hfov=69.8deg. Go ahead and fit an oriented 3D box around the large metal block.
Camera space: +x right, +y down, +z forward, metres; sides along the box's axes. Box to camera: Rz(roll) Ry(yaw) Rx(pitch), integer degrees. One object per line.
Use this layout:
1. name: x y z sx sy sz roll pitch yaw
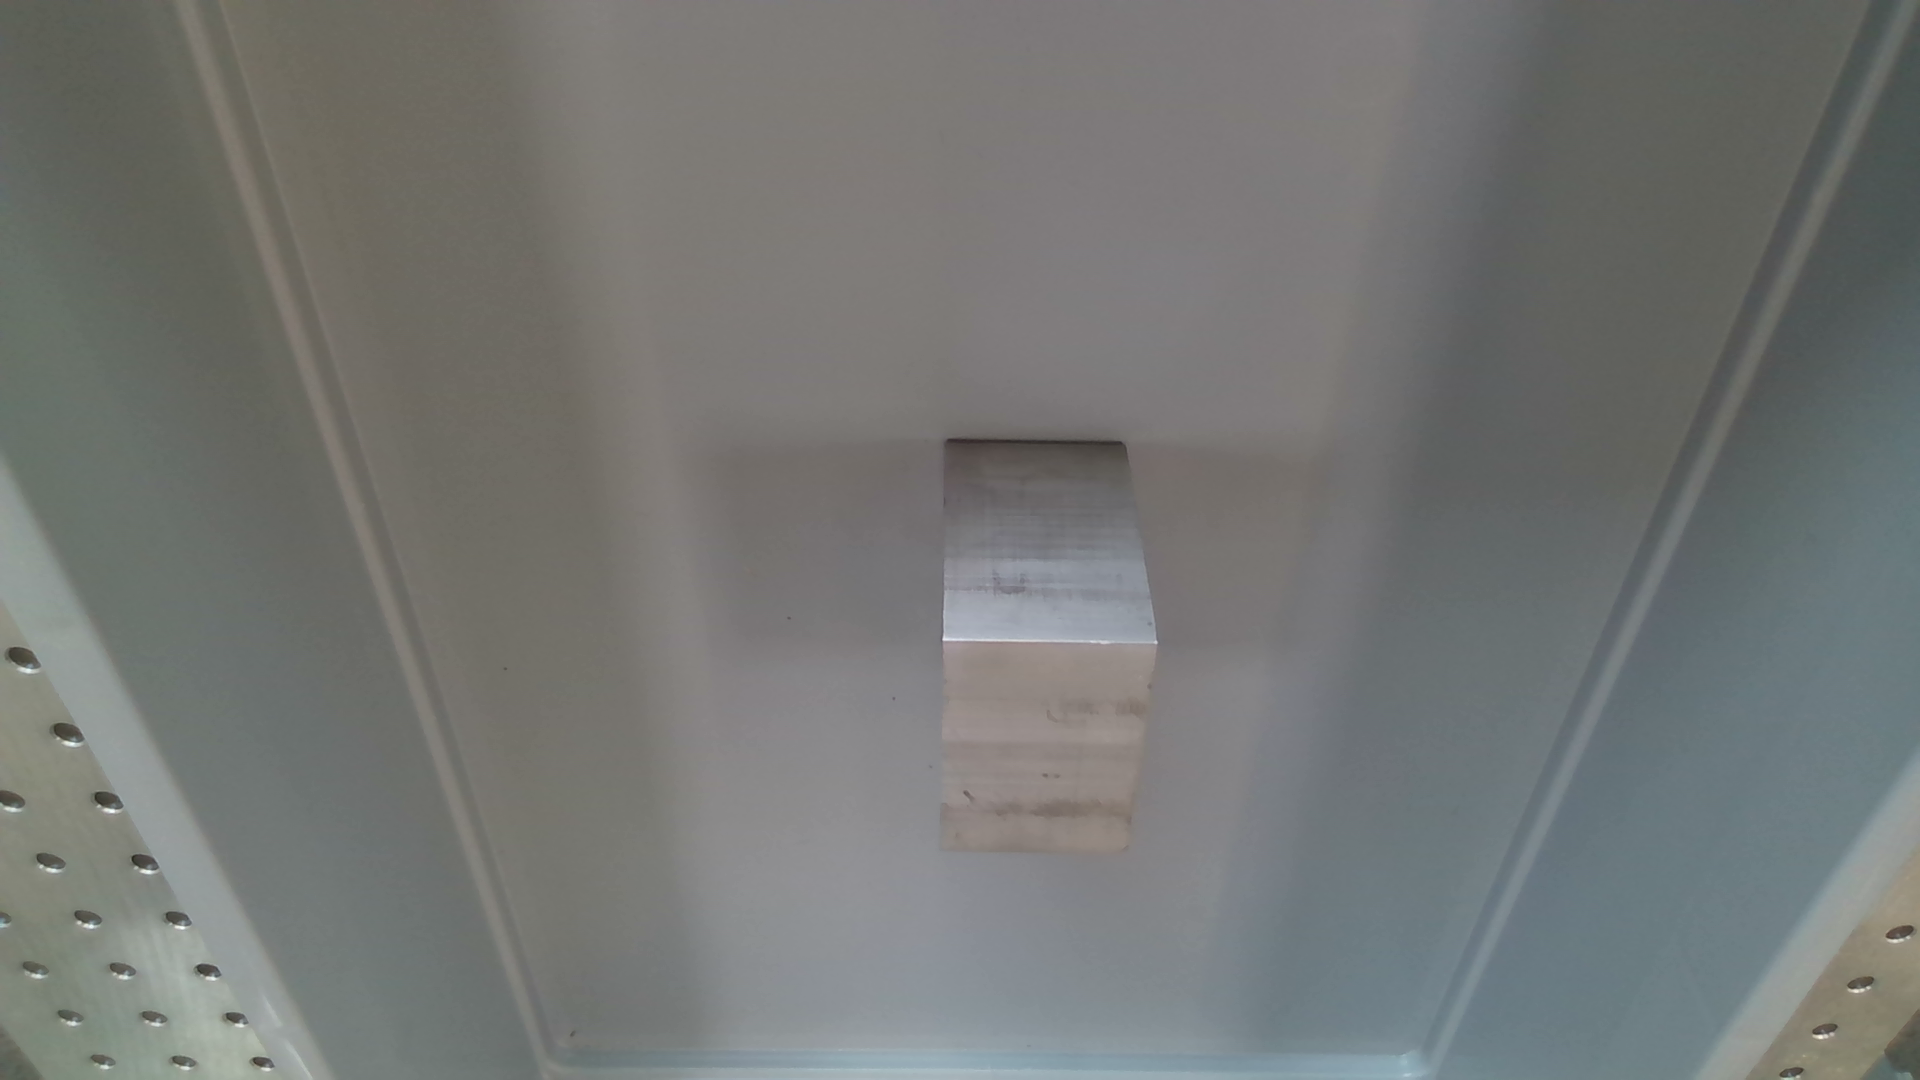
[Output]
1. large metal block: 0.020 0.028 0.373 0.050 0.080 0.080 1 130 -1
